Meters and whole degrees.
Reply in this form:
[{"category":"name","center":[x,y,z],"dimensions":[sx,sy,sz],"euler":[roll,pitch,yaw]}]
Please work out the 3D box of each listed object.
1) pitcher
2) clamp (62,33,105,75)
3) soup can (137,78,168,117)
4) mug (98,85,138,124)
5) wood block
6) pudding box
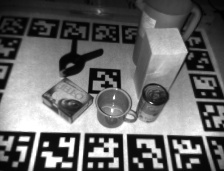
[{"category":"pitcher","center":[0.152,-0.175,0.663],"dimensions":[0.189,0.243,0.132],"euler":[-1,53,-3]},{"category":"clamp","center":[-0.110,-0.100,0.713],"dimensions":[0.121,0.036,0.165],"euler":[30,58,5]},{"category":"soup can","center":[0.110,0.036,0.596],"dimensions":[0.068,0.102,0.067],"euler":[3,58,-4]},{"category":"mug","center":[0.017,0.057,0.584],"dimensions":[0.116,0.082,0.094],"euler":[31,56,16]},{"category":"wood block","center":[0.129,-0.067,0.605],"dimensions":[0.090,0.206,0.090],"euler":[0,55,-10]},{"category":"pudding box","center":[-0.127,0.029,0.616],"dimensions":[0.113,0.039,0.090],"euler":[33,61,16]}]
